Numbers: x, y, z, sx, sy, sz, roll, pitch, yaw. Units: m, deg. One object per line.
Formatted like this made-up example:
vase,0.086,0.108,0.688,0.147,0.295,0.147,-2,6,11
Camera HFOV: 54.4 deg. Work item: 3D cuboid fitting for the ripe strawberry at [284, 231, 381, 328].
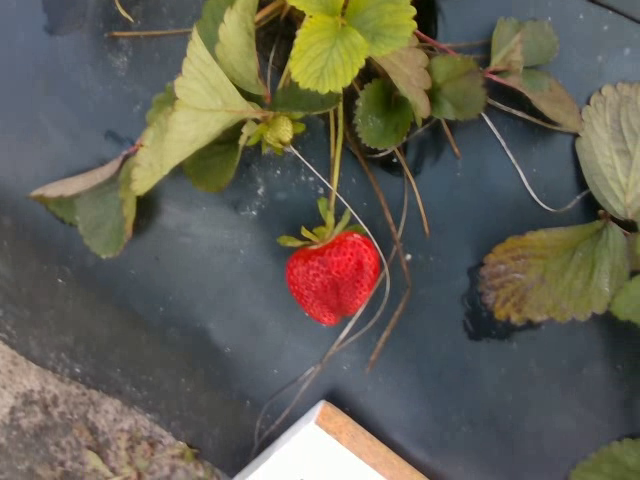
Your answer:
ripe strawberry,0.001,0.007,0.086,0.017,0.015,0.014,-23,-28,30
